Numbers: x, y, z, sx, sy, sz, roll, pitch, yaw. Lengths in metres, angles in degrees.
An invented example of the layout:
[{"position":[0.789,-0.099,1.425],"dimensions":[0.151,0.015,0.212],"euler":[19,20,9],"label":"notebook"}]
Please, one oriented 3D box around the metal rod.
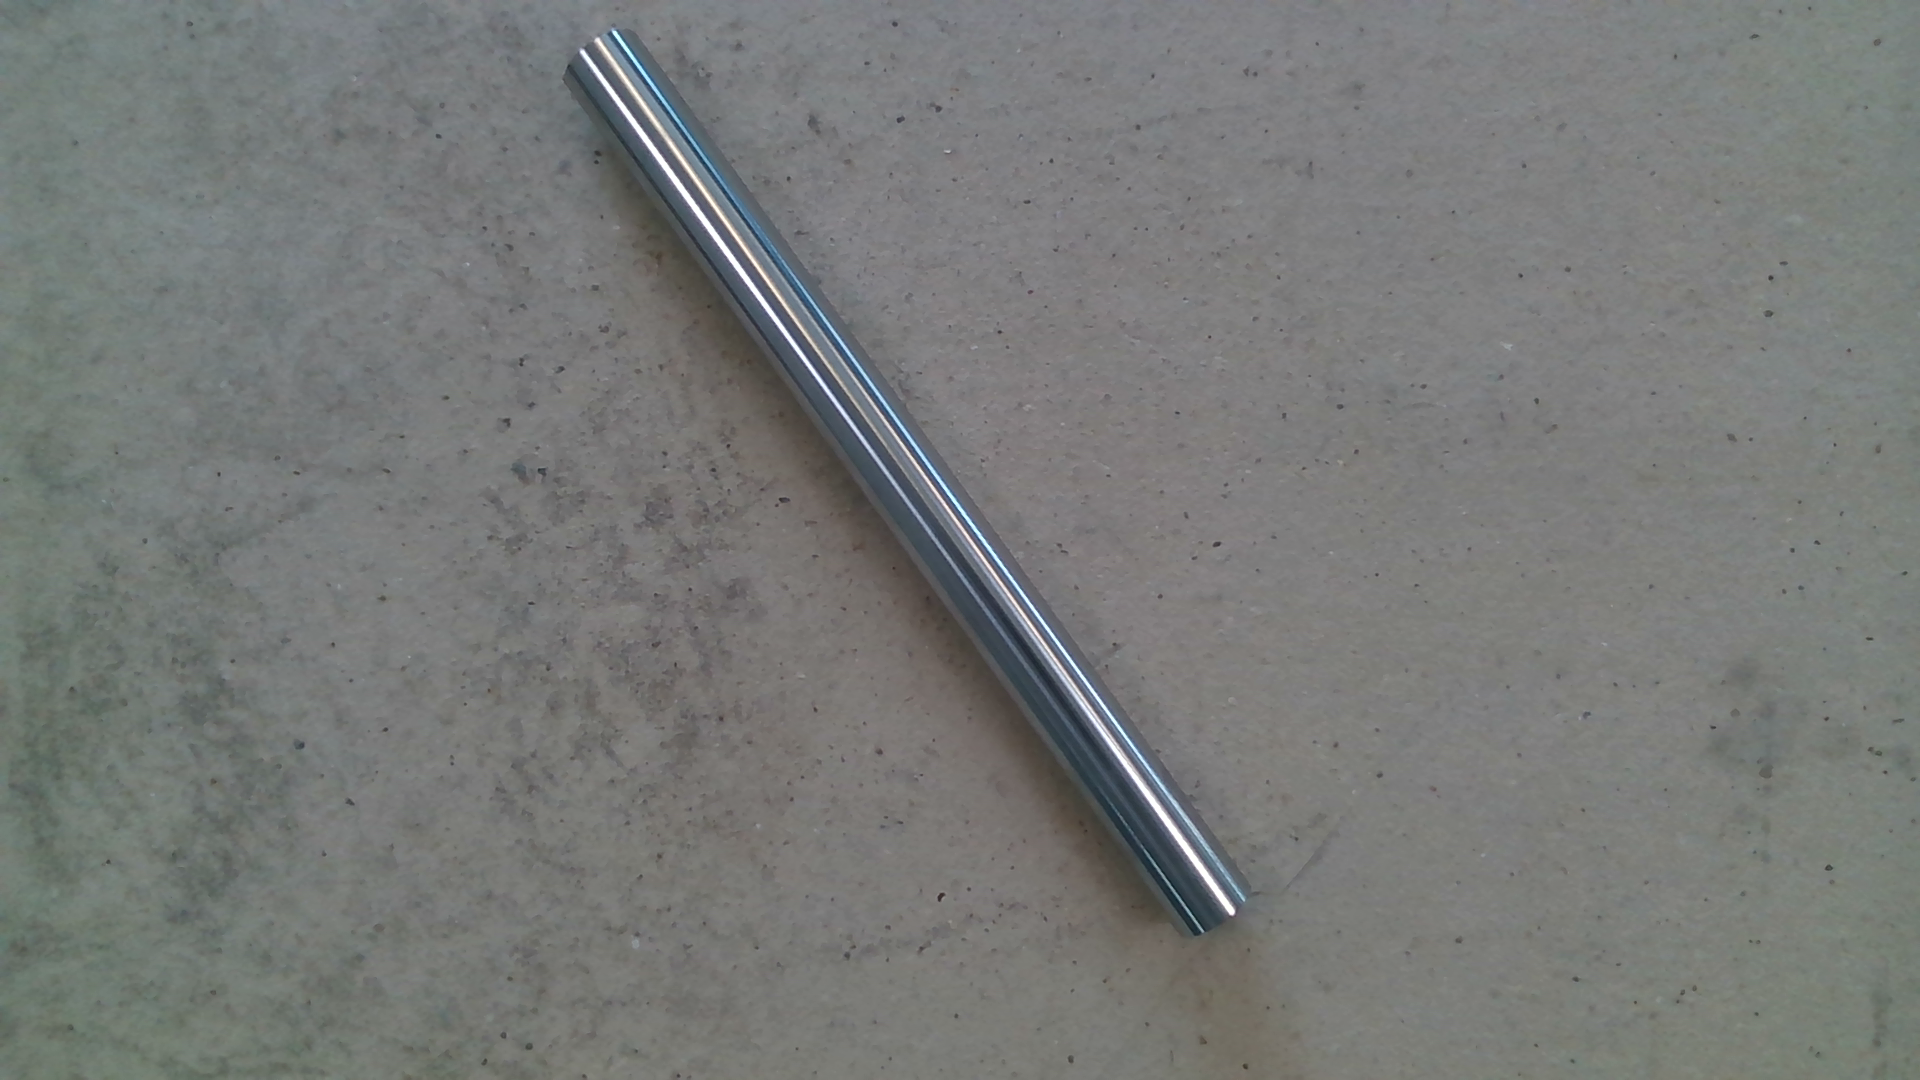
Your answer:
[{"position":[-0.015,-0.017,0.396],"dimensions":[0.025,0.025,0.300],"euler":[-36,90,0],"label":"metal rod"}]
